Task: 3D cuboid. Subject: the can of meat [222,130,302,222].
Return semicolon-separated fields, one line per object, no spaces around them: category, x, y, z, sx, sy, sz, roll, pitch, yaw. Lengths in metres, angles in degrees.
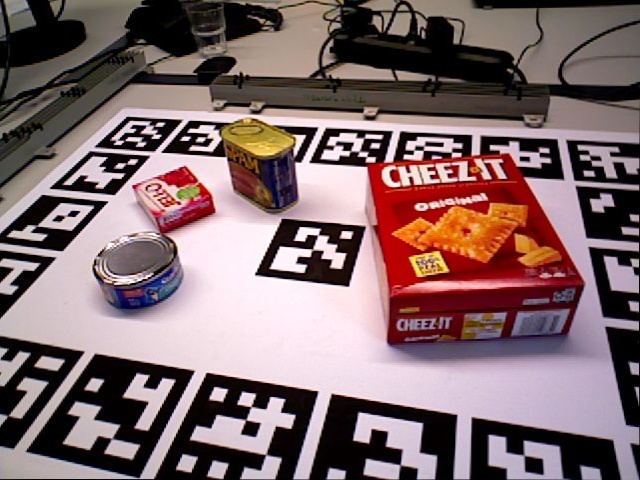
can of meat;-0.070;-0.080;0.677;0.102;0.085;0.056;28;48;35

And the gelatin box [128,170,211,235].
gelatin box;-0.188;-0.048;0.681;0.072;0.031;0.089;-23;45;-27

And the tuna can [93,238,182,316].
tuna can;-0.188;0.038;0.565;0.085;0.034;0.084;-4;41;3

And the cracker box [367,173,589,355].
cracker box;0.142;0.012;0.547;0.163;0.073;0.210;-3;37;-1
